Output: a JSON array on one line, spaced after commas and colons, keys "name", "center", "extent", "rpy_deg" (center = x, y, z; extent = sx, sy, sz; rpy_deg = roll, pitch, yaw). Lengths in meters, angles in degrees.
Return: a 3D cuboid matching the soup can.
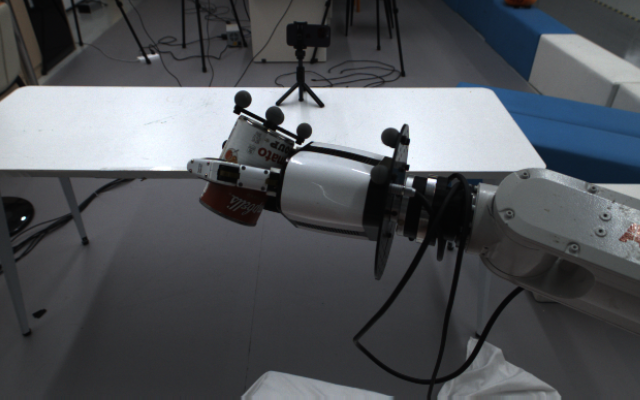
[{"name": "soup can", "center": [-0.076, -0.030, 0.520], "extent": [0.067, 0.101, 0.067], "rpy_deg": [26, 6, -3]}]
